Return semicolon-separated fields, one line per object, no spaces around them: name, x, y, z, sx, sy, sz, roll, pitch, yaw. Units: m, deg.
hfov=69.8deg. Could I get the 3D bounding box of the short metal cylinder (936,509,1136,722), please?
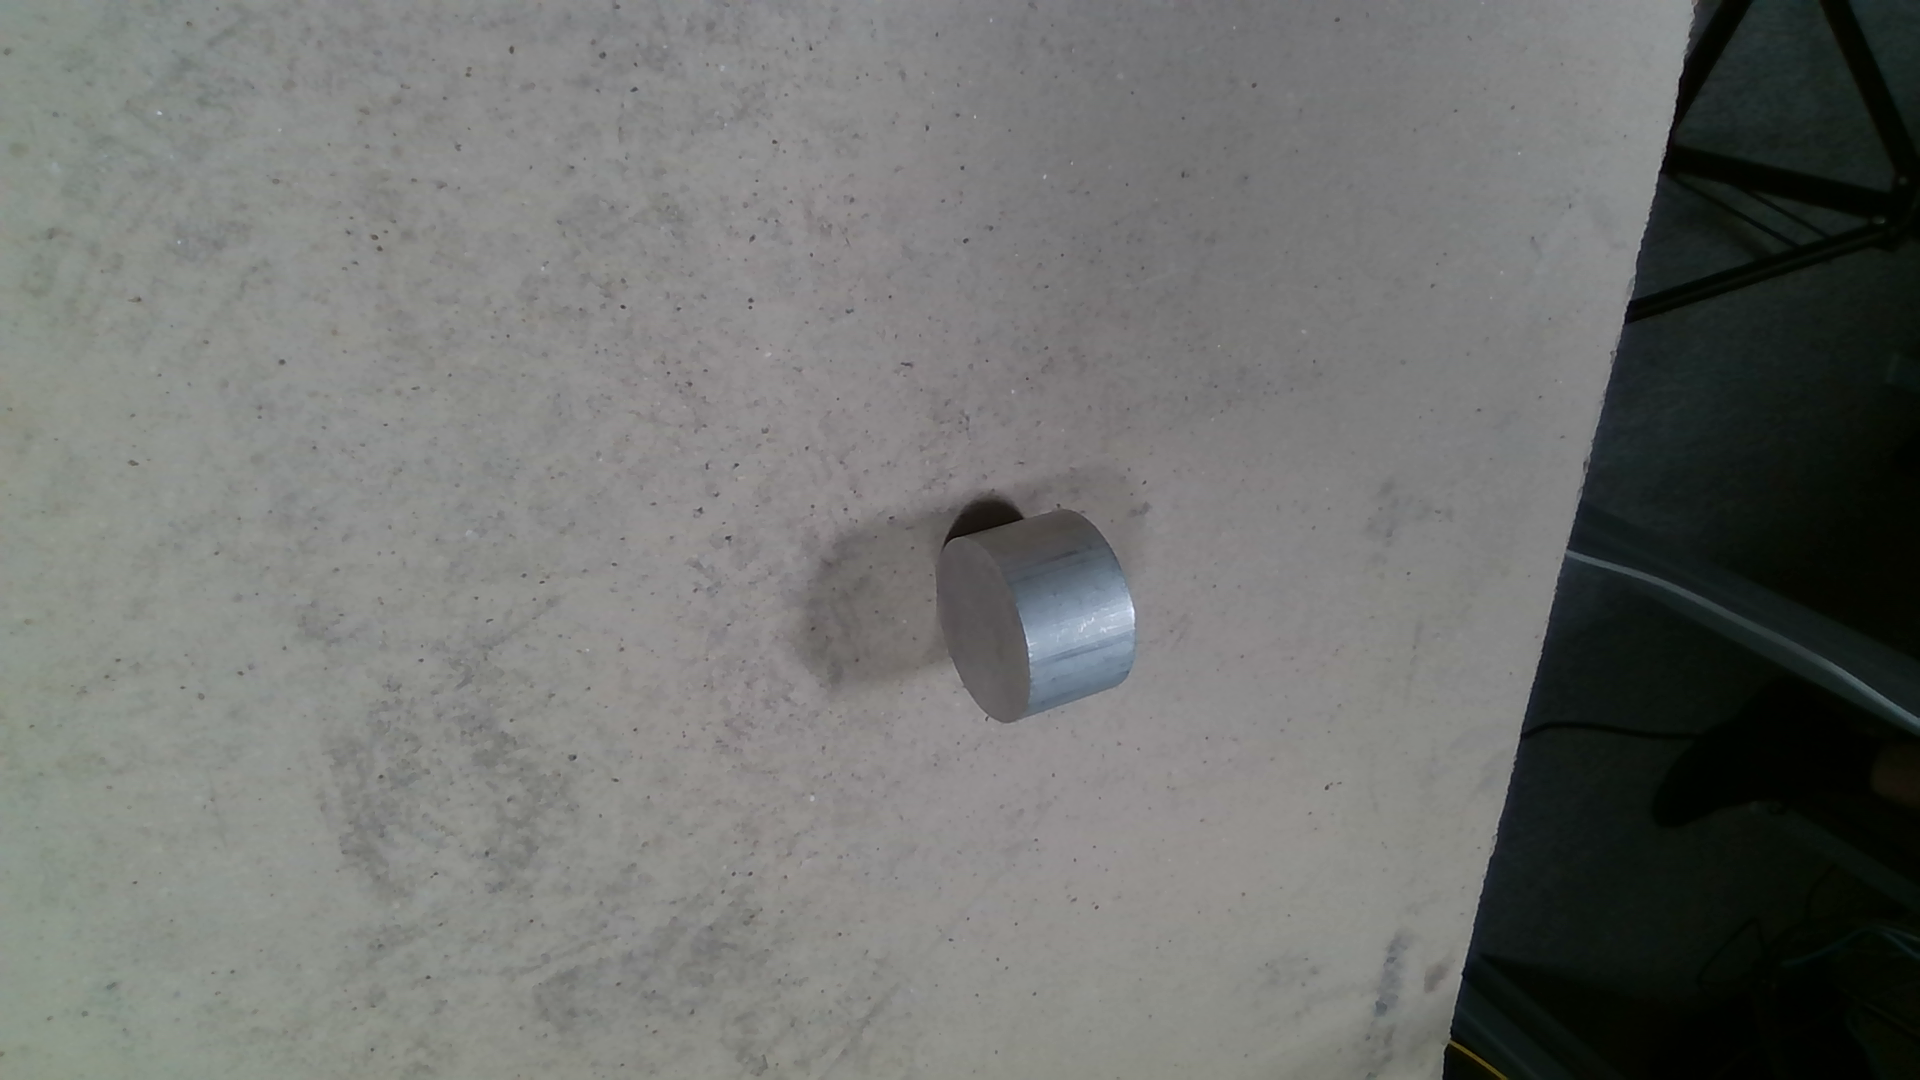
short metal cylinder;0.030;0.031;0.581;0.050;0.080;0.080;-15;122;-24
